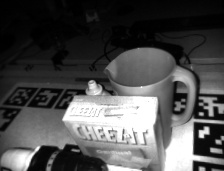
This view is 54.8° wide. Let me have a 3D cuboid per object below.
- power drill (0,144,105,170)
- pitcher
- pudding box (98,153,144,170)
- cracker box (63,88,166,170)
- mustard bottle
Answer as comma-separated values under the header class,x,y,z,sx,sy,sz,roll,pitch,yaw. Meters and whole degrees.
class,x,y,z,sx,sy,sz,roll,pitch,yaw
power drill,-0.080,0.172,0.377,0.183,0.188,0.057,0,40,17
pitcher,0.085,0.036,0.495,0.187,0.245,0.133,3,45,24
pudding box,0.009,0.181,0.446,0.113,0.091,0.038,-1,42,21
cracker box,0.016,0.109,0.442,0.163,0.215,0.072,-3,41,18
mustard bottle,-0.038,0.043,0.542,0.095,0.193,0.058,10,49,28
